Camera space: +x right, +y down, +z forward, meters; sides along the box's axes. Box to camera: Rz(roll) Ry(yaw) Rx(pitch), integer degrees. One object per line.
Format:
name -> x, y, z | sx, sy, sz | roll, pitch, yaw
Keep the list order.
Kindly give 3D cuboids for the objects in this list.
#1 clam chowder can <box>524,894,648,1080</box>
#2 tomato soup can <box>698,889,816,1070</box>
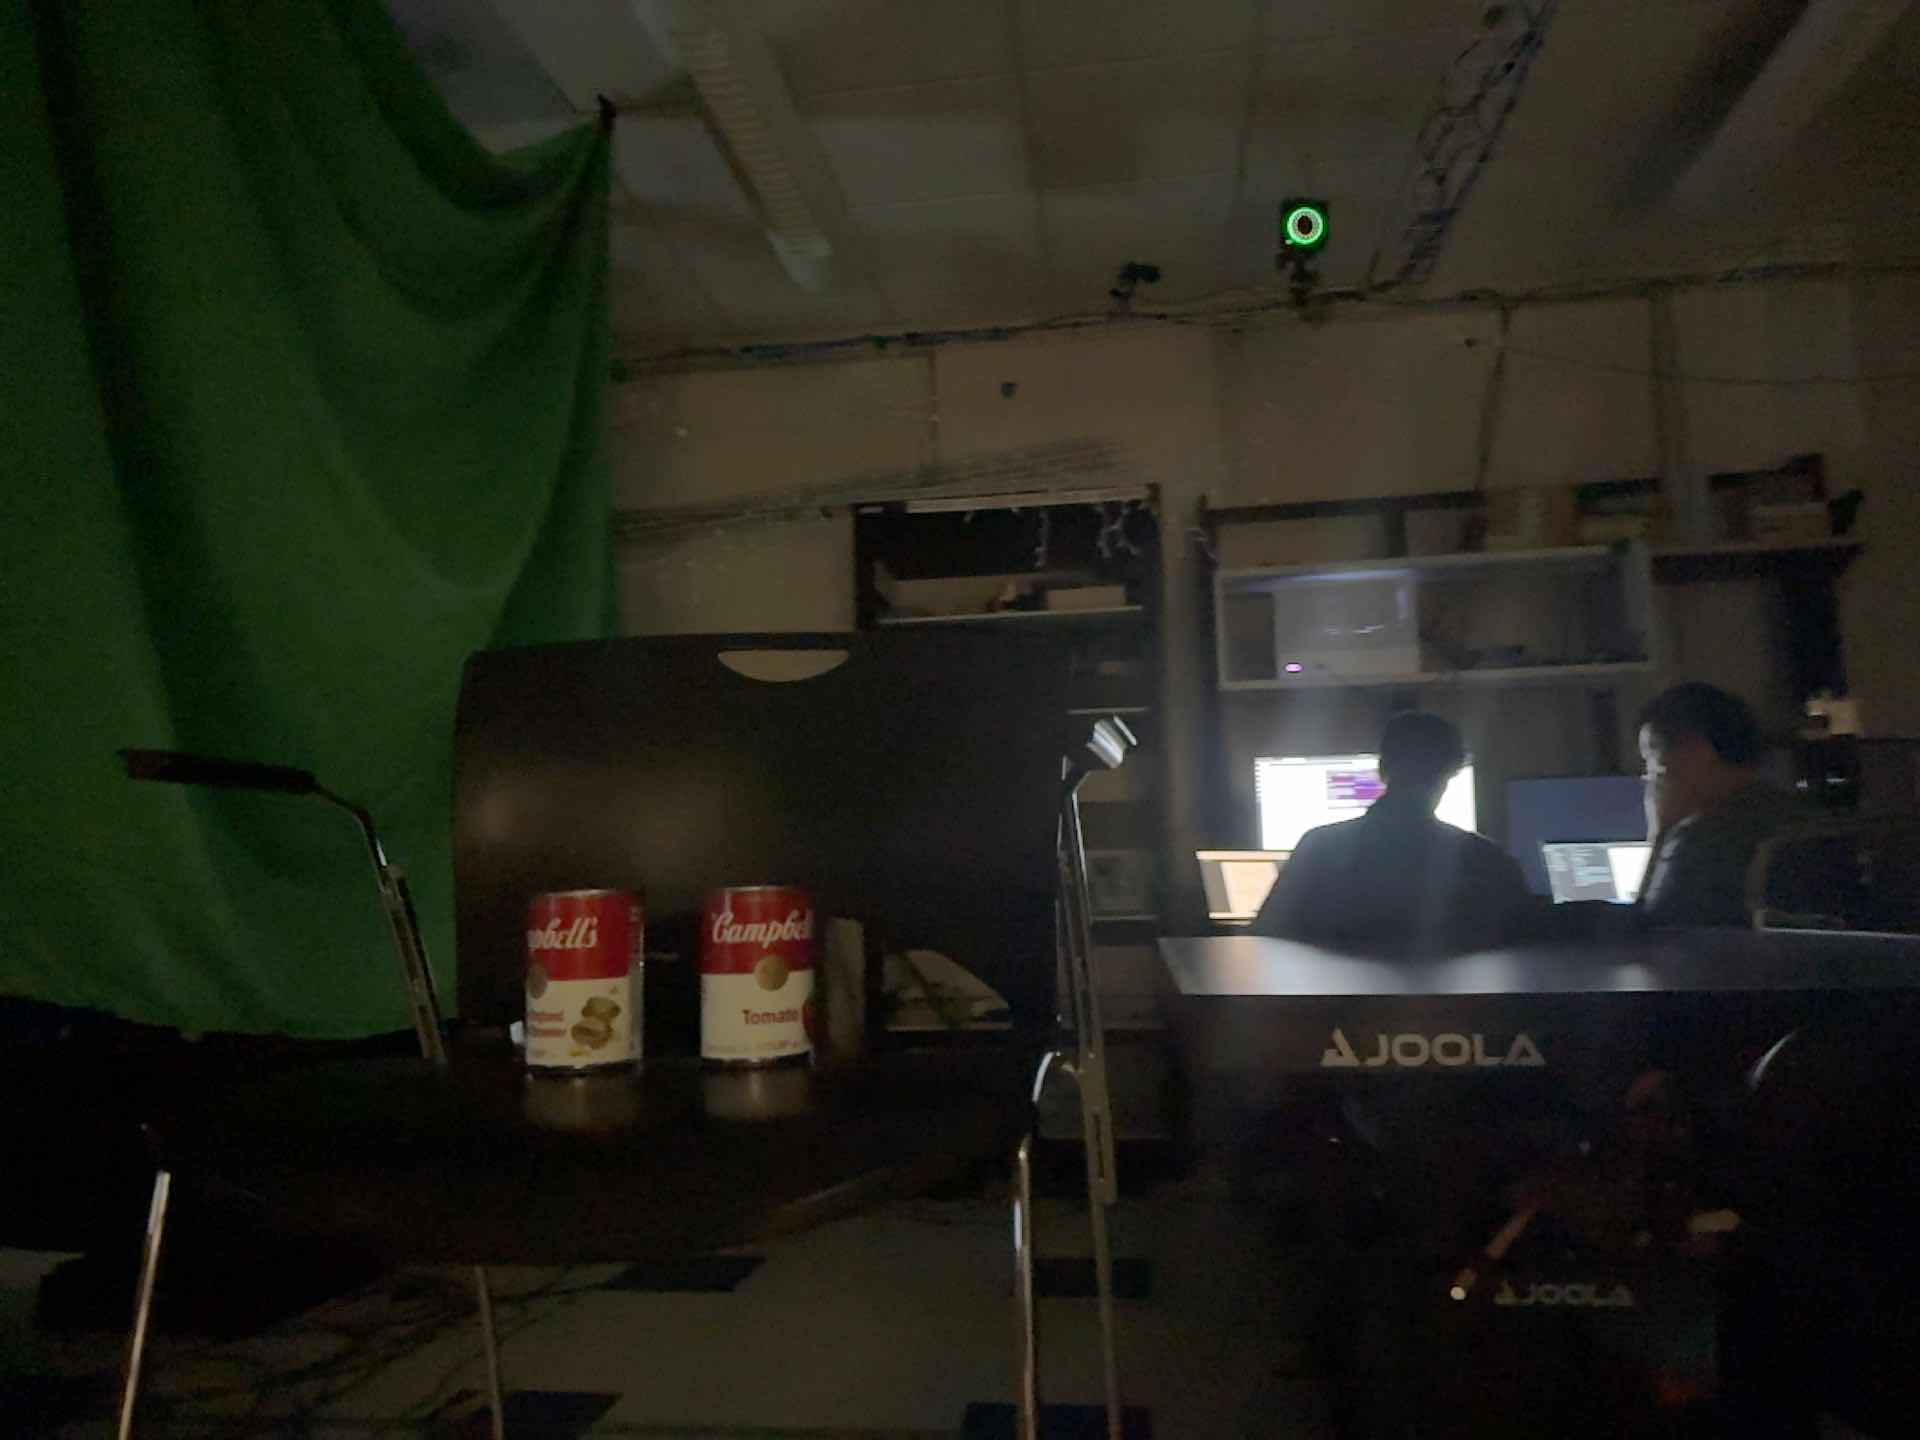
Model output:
clam chowder can -> -0.222, 0.156, 0.799 | 0.068, 0.102, 0.068 | 1, -5, 0
tomato soup can -> -0.121, 0.151, 0.795 | 0.067, 0.102, 0.067 | 1, -6, 0
